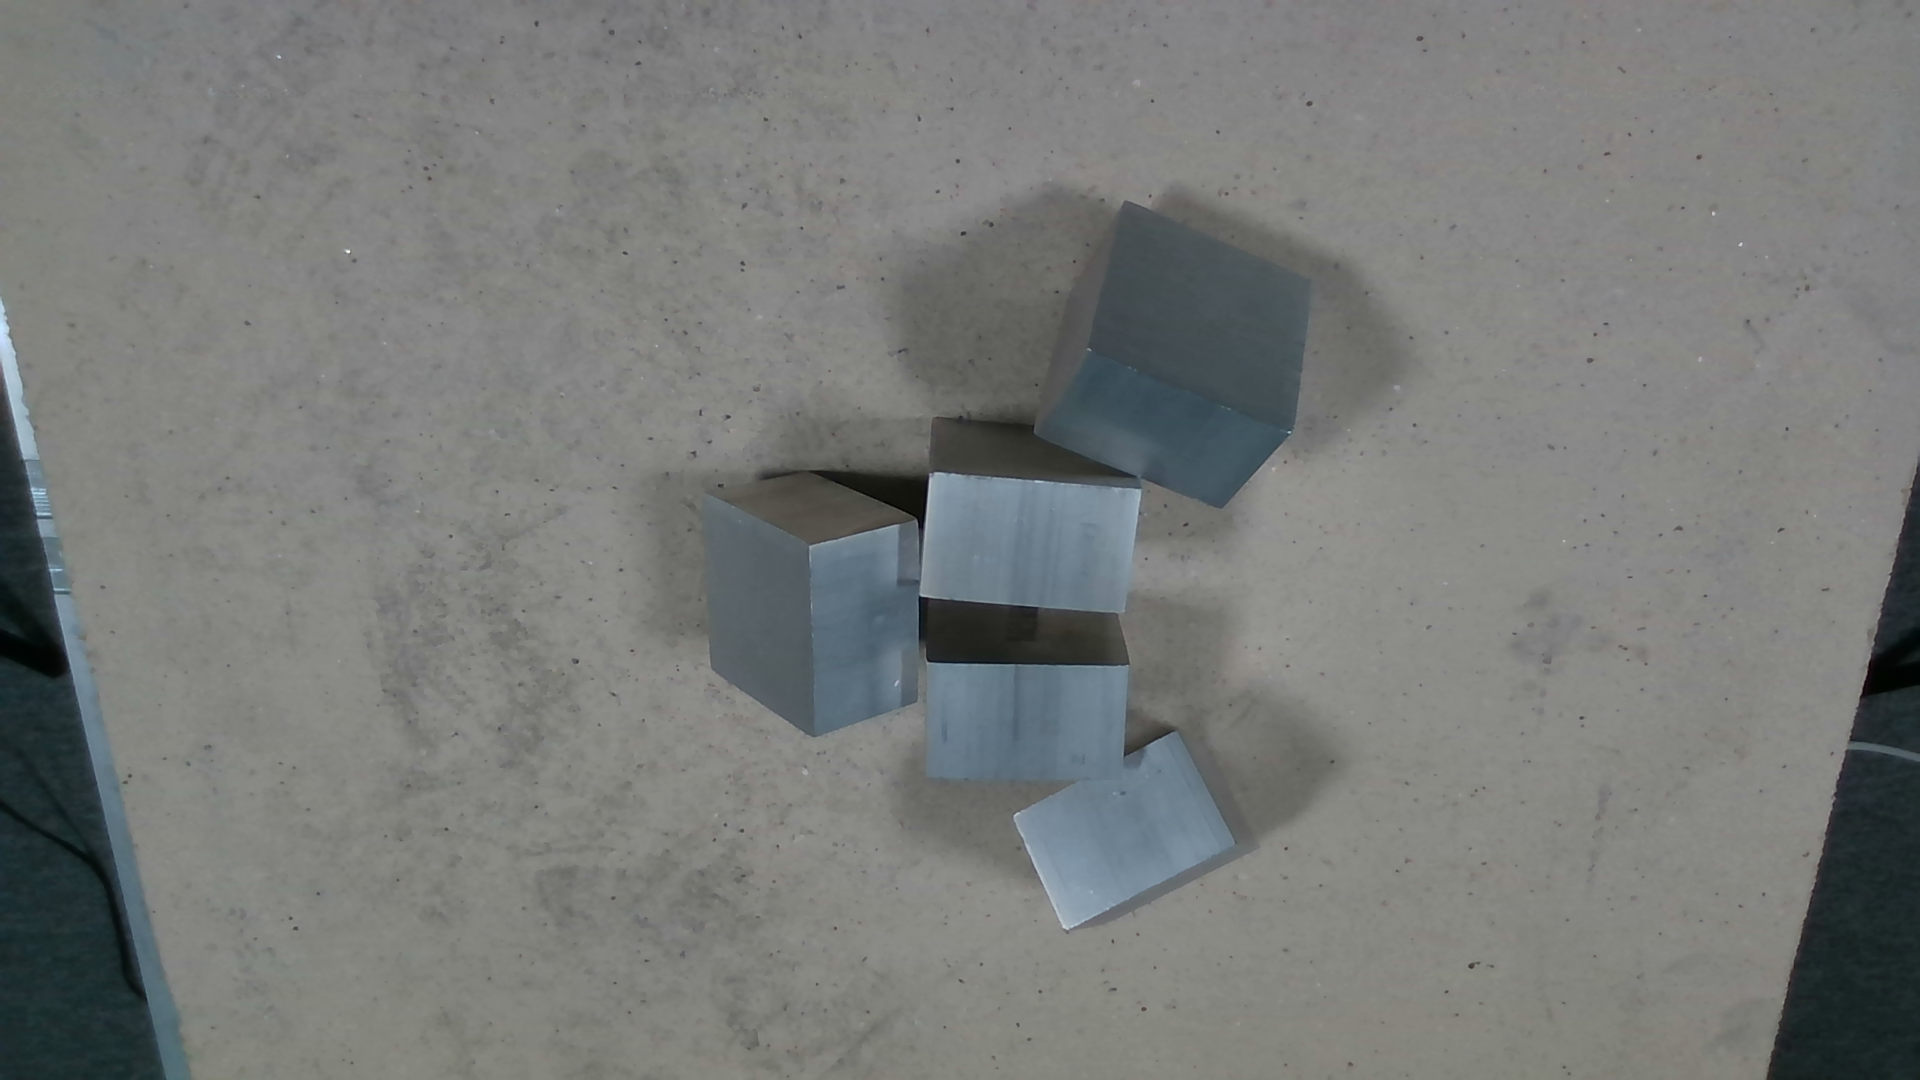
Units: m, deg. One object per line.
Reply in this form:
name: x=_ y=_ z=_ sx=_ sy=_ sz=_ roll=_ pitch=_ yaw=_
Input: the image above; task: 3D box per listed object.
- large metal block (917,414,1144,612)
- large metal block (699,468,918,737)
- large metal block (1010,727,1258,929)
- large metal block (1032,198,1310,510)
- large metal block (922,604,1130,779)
large metal block: x=0.026 y=-0.013 z=0.551 sx=0.080 sy=0.080 sz=0.050 roll=5 pitch=110 yaw=-2
large metal block: x=-0.062 y=0.022 z=0.557 sx=0.050 sy=0.080 sz=0.080 roll=-15 pitch=115 yaw=-37
large metal block: x=0.078 y=0.126 z=0.595 sx=0.080 sy=0.080 sz=0.050 roll=-30 pitch=70 yaw=10
large metal block: x=0.080 y=-0.070 z=0.520 sx=0.080 sy=0.080 sz=0.050 roll=21 pitch=145 yaw=-8
large metal block: x=0.025 y=0.058 z=0.577 sx=0.080 sy=0.080 sz=0.050 roll=1 pitch=110 yaw=0
